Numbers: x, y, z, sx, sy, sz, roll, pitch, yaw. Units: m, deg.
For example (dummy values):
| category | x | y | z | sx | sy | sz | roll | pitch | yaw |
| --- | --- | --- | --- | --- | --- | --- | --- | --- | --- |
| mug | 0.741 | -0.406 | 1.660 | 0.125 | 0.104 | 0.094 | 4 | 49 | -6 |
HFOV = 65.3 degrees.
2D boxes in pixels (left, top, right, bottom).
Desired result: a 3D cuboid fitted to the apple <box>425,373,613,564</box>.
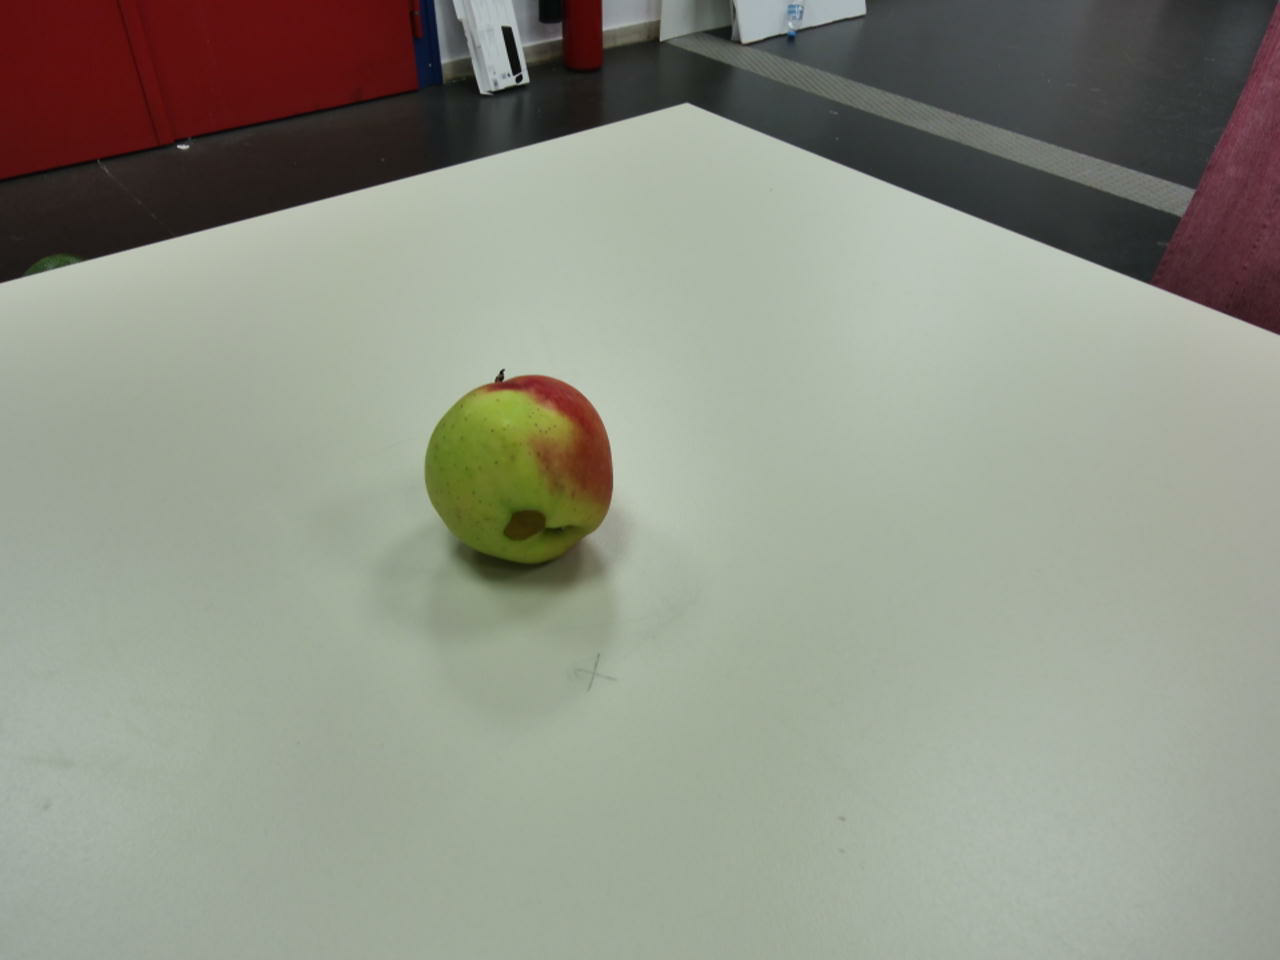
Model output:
| category | x | y | z | sx | sy | sz | roll | pitch | yaw |
| --- | --- | --- | --- | --- | --- | --- | --- | --- | --- |
| apple | -0.046 | -0.005 | 0.401 | 0.075 | 0.074 | 0.075 | 21 | 41 | 24 |
